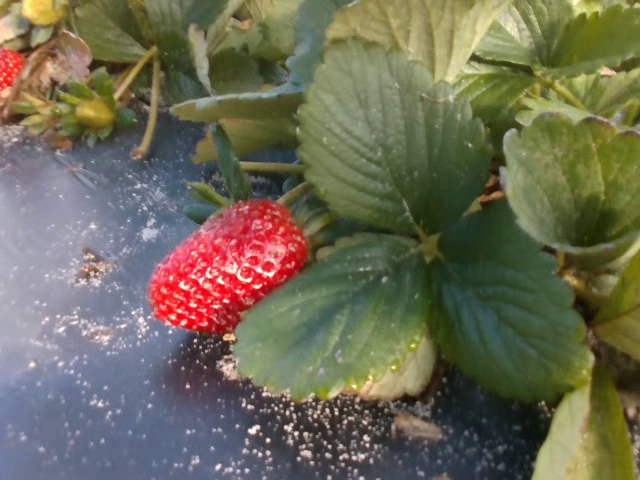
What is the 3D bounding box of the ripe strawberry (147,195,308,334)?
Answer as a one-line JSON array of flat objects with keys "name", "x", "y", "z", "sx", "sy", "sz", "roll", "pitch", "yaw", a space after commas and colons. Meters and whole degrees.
[{"name": "ripe strawberry", "x": -0.019, "y": 0.004, "z": 0.113, "sx": 0.036, "sy": 0.021, "sz": 0.029, "roll": -27, "pitch": 31, "yaw": -30}]
